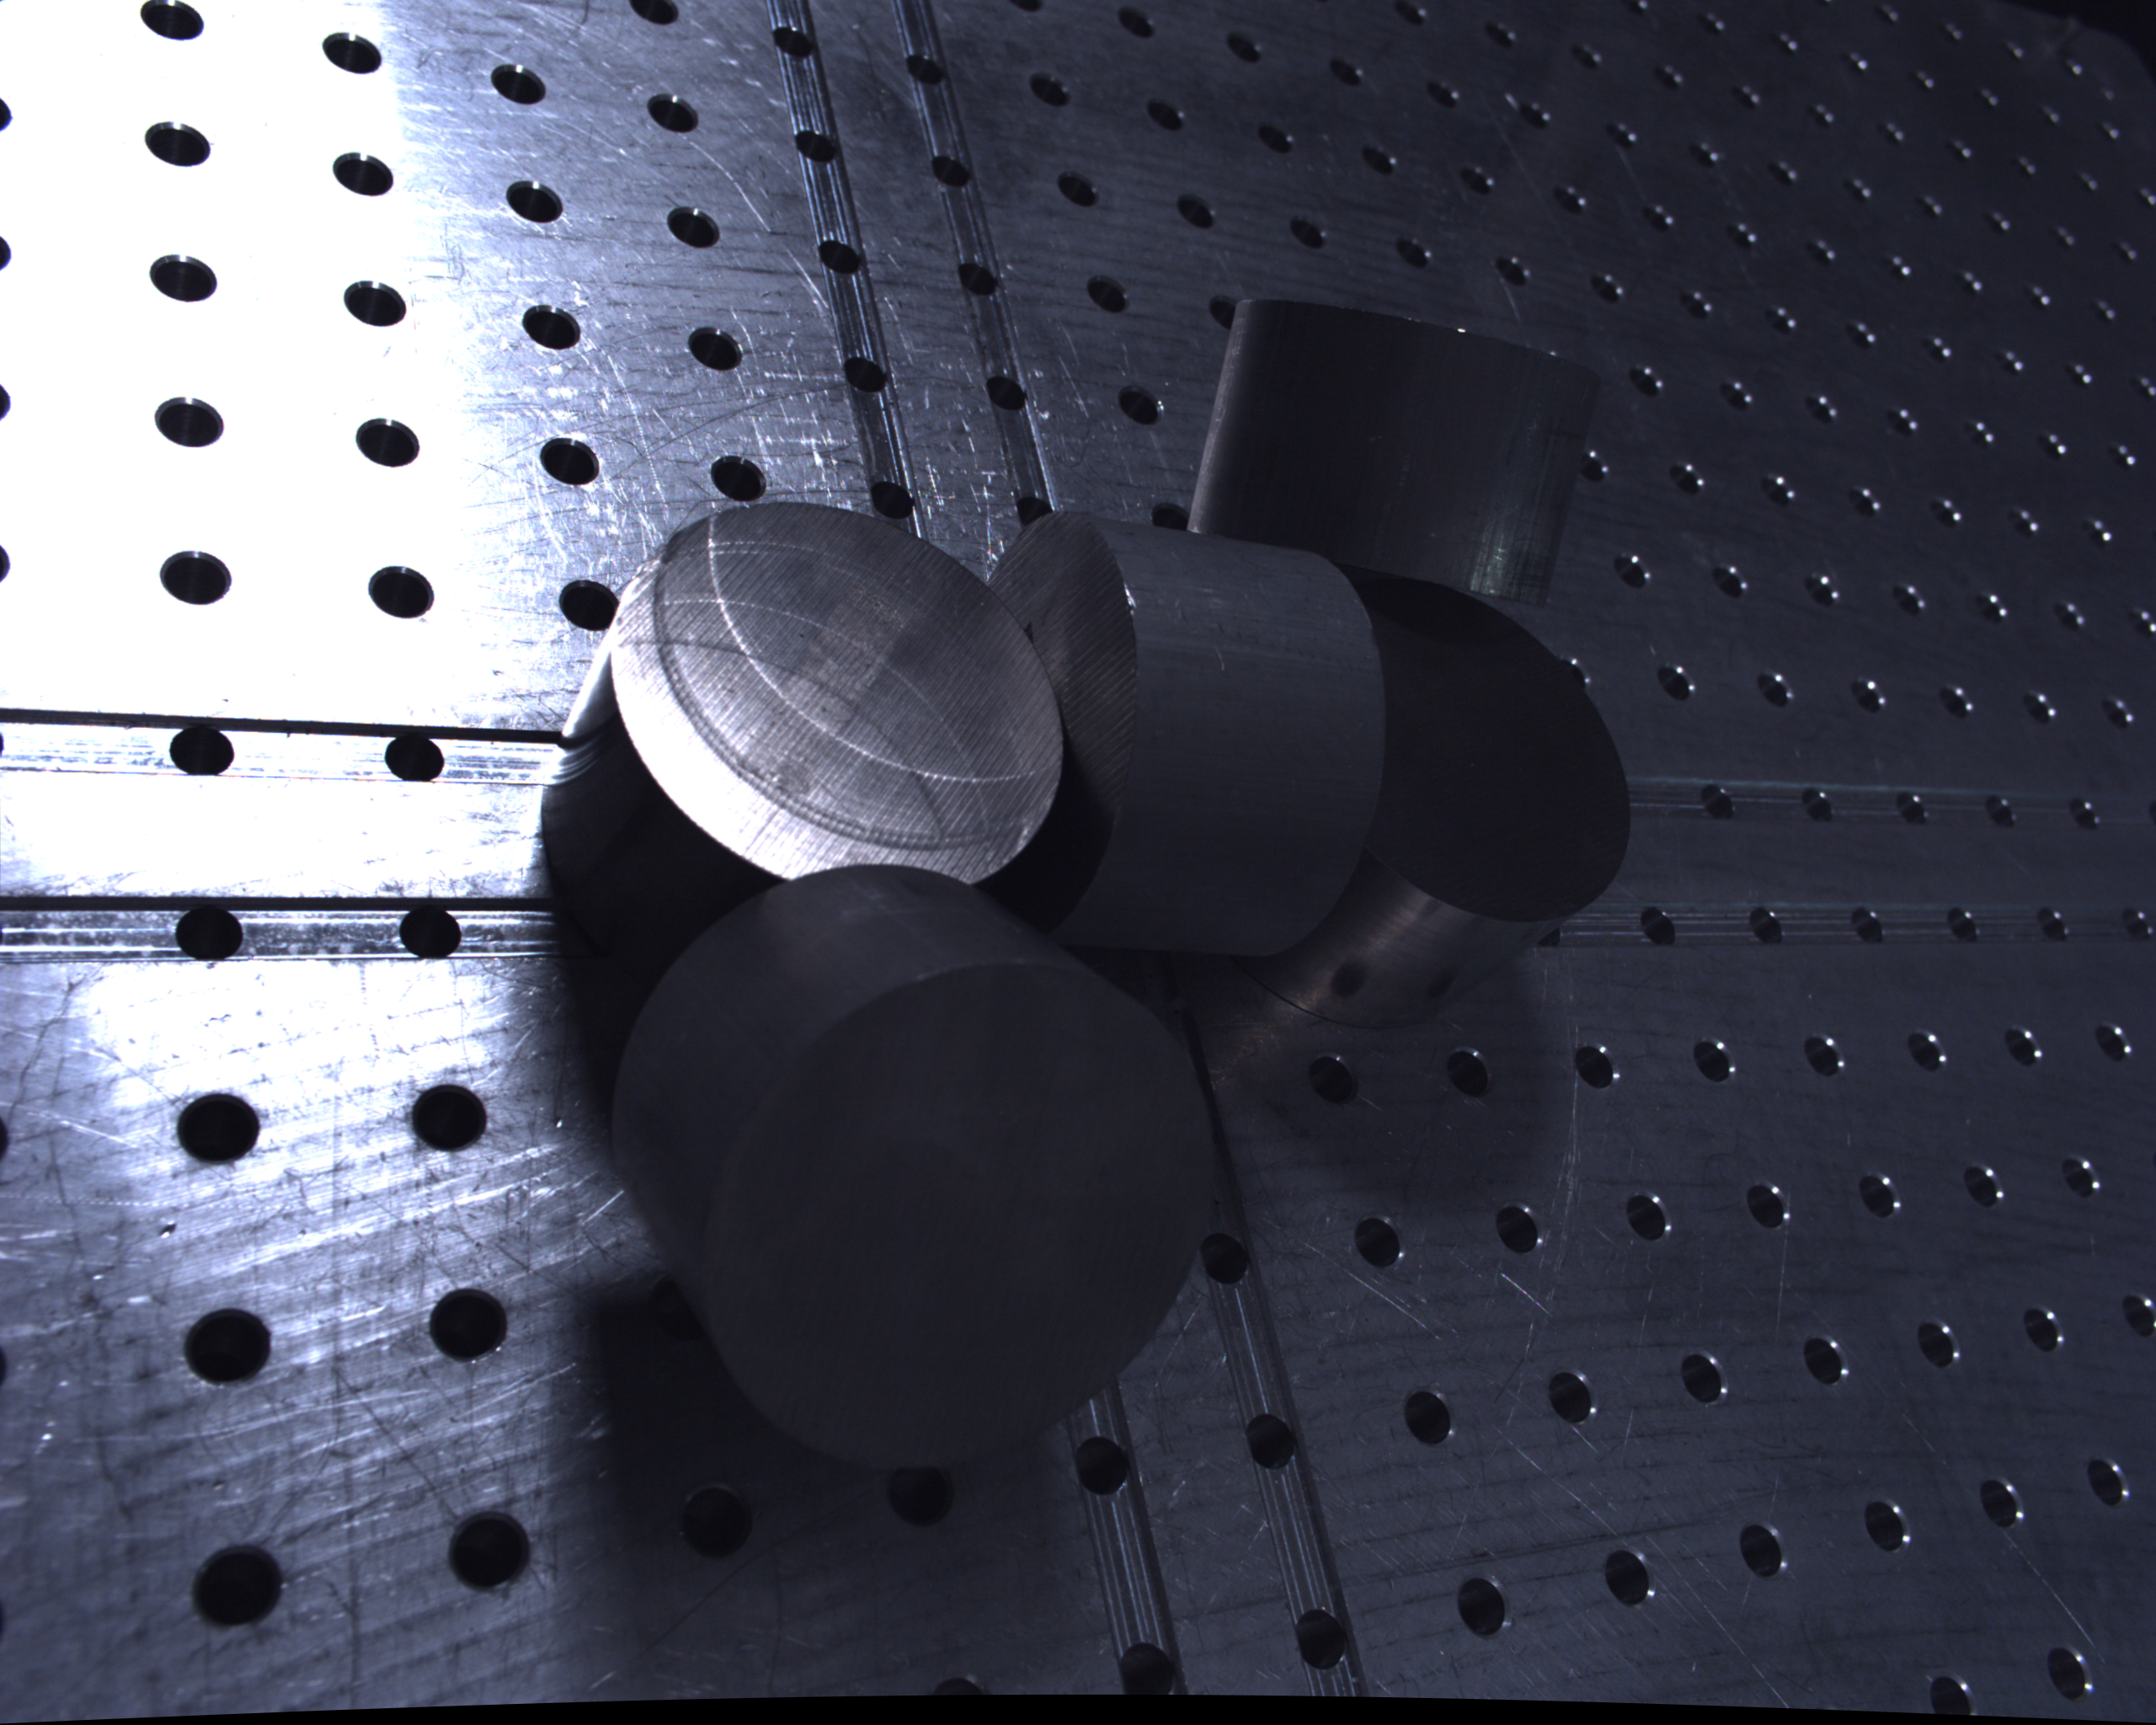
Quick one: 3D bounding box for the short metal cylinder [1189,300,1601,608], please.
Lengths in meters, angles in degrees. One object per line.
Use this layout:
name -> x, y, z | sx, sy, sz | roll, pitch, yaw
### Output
short metal cylinder -> 0.068, -0.089, 0.457 | 0.081, 0.080, 0.050 | 8, 100, -24

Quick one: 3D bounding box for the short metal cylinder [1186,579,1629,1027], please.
short metal cylinder -> 0.067, -0.012, 0.436 | 0.081, 0.050, 0.080 | 14, 56, -21

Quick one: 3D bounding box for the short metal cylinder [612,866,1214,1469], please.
short metal cylinder -> -0.026, 0.046, 0.325 | 0.081, 0.050, 0.079 | -9, 110, -25

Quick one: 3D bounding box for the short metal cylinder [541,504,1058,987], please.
short metal cylinder -> -0.051, -0.017, 0.376 | 0.081, 0.050, 0.080 | 14, 56, -21

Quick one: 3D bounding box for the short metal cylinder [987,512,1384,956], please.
short metal cylinder -> 0.014, -0.023, 0.396 | 0.050, 0.080, 0.080 | 5, 60, -26
